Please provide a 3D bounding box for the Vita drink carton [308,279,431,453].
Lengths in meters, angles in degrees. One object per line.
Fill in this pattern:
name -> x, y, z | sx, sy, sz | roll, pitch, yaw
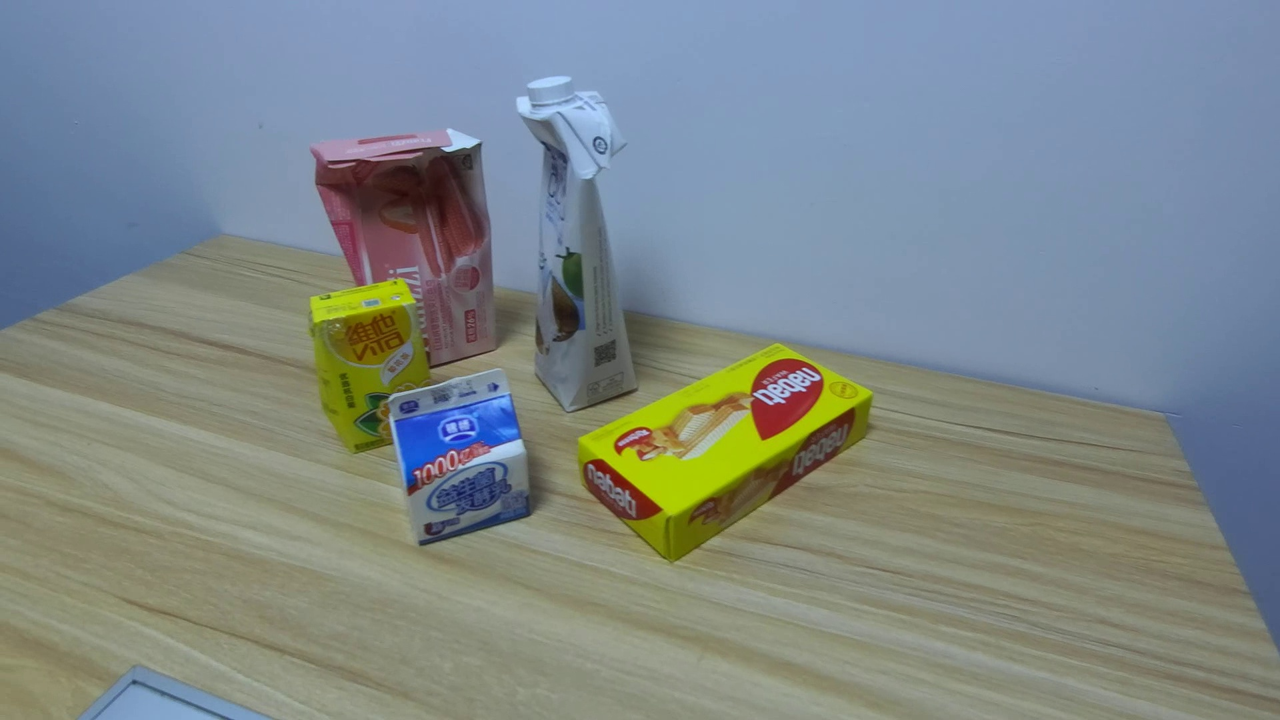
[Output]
Vita drink carton -> -0.188, 0.005, 0.495 | 0.077, 0.109, 0.043 | -15, 36, -24

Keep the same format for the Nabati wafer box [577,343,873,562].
Nabati wafer box -> 0.065, 0.054, 0.495 | 0.203, 0.042, 0.092 | -23, 40, -33

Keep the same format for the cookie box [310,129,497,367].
cookie box -> -0.179, -0.082, 0.565 | 0.119, 0.184, 0.055 | -15, 37, -23

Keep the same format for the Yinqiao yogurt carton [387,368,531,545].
Yinqiao yogurt carton -> -0.116, 0.051, 0.446 | 0.076, 0.092, 0.073 | -13, 35, -18

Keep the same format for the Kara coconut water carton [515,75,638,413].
Kara coconut water carton -> -0.046, -0.082, 0.519 | 0.069, 0.239, 0.114 | -17, 36, -23
